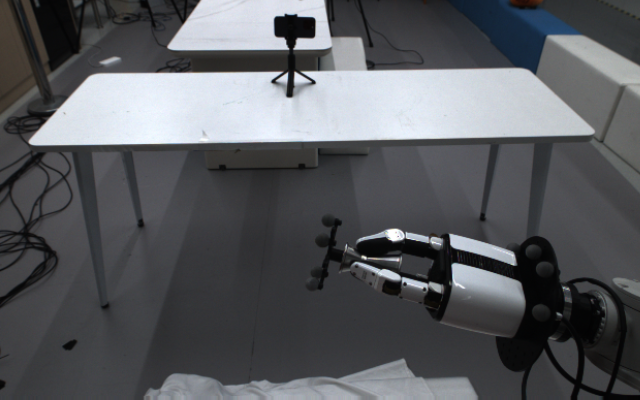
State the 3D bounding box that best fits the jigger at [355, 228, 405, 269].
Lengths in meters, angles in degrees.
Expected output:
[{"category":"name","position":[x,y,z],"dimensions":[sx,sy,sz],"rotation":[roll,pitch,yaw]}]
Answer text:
[{"category":"jigger","position":[0.067,0.074,0.580],"dimensions":[0.071,0.043,0.043],"rotation":[14,36,5]}]
